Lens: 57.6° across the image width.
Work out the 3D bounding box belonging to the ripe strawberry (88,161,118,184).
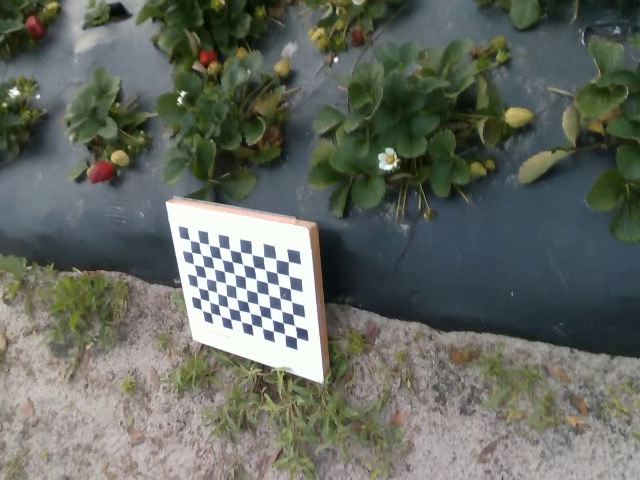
[{"bbox_3d":[-0.435,-0.128,1.146,0.046,0.046,0.059,5,45,35],"label":"ripe strawberry"}]
